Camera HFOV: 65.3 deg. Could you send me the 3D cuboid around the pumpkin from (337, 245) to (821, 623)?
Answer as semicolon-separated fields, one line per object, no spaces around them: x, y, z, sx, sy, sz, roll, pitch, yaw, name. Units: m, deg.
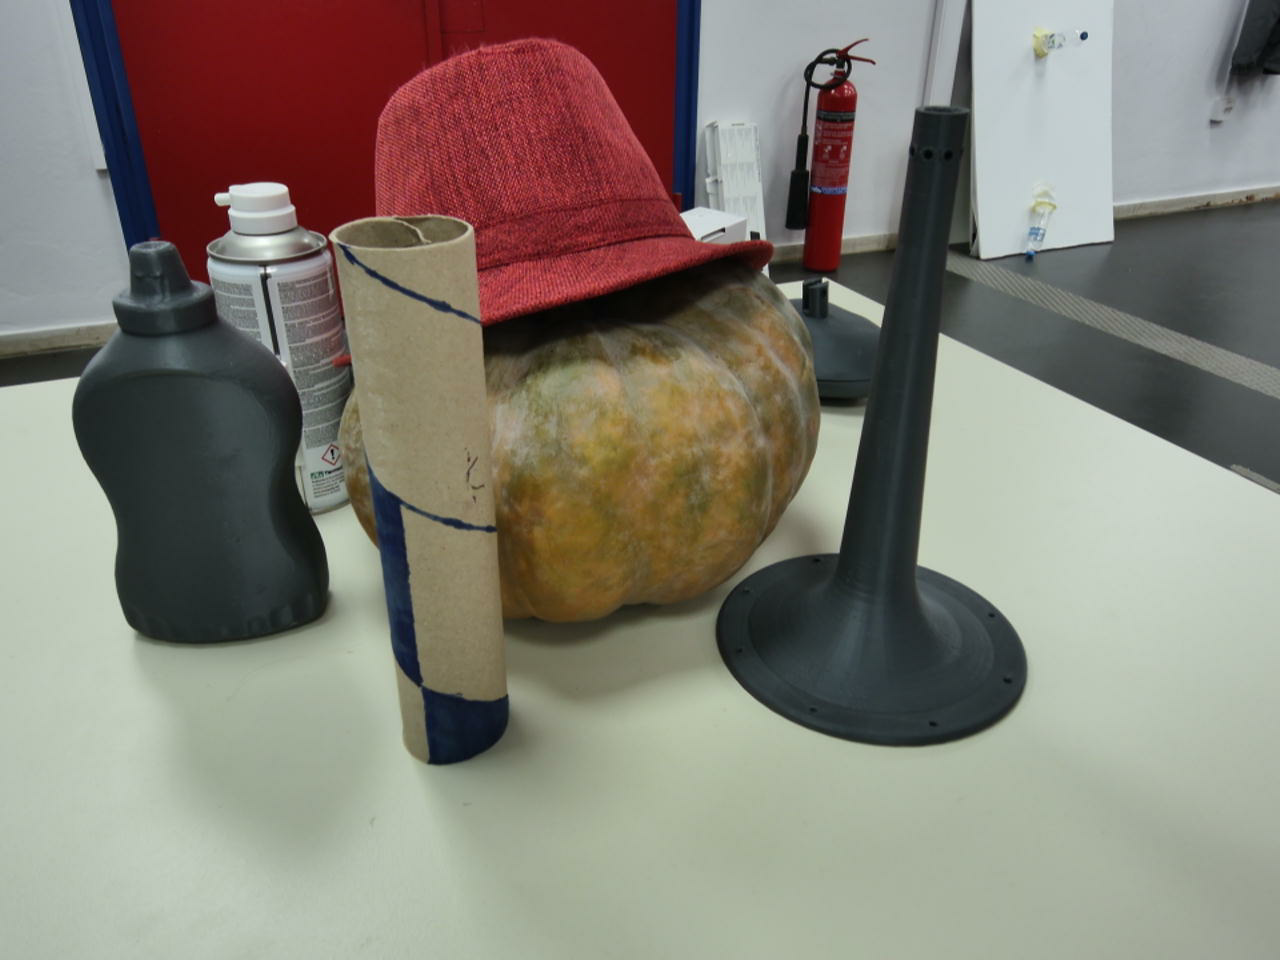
-0.034;-0.030;0.530;0.252;0.169;0.251;0;26;0;pumpkin
